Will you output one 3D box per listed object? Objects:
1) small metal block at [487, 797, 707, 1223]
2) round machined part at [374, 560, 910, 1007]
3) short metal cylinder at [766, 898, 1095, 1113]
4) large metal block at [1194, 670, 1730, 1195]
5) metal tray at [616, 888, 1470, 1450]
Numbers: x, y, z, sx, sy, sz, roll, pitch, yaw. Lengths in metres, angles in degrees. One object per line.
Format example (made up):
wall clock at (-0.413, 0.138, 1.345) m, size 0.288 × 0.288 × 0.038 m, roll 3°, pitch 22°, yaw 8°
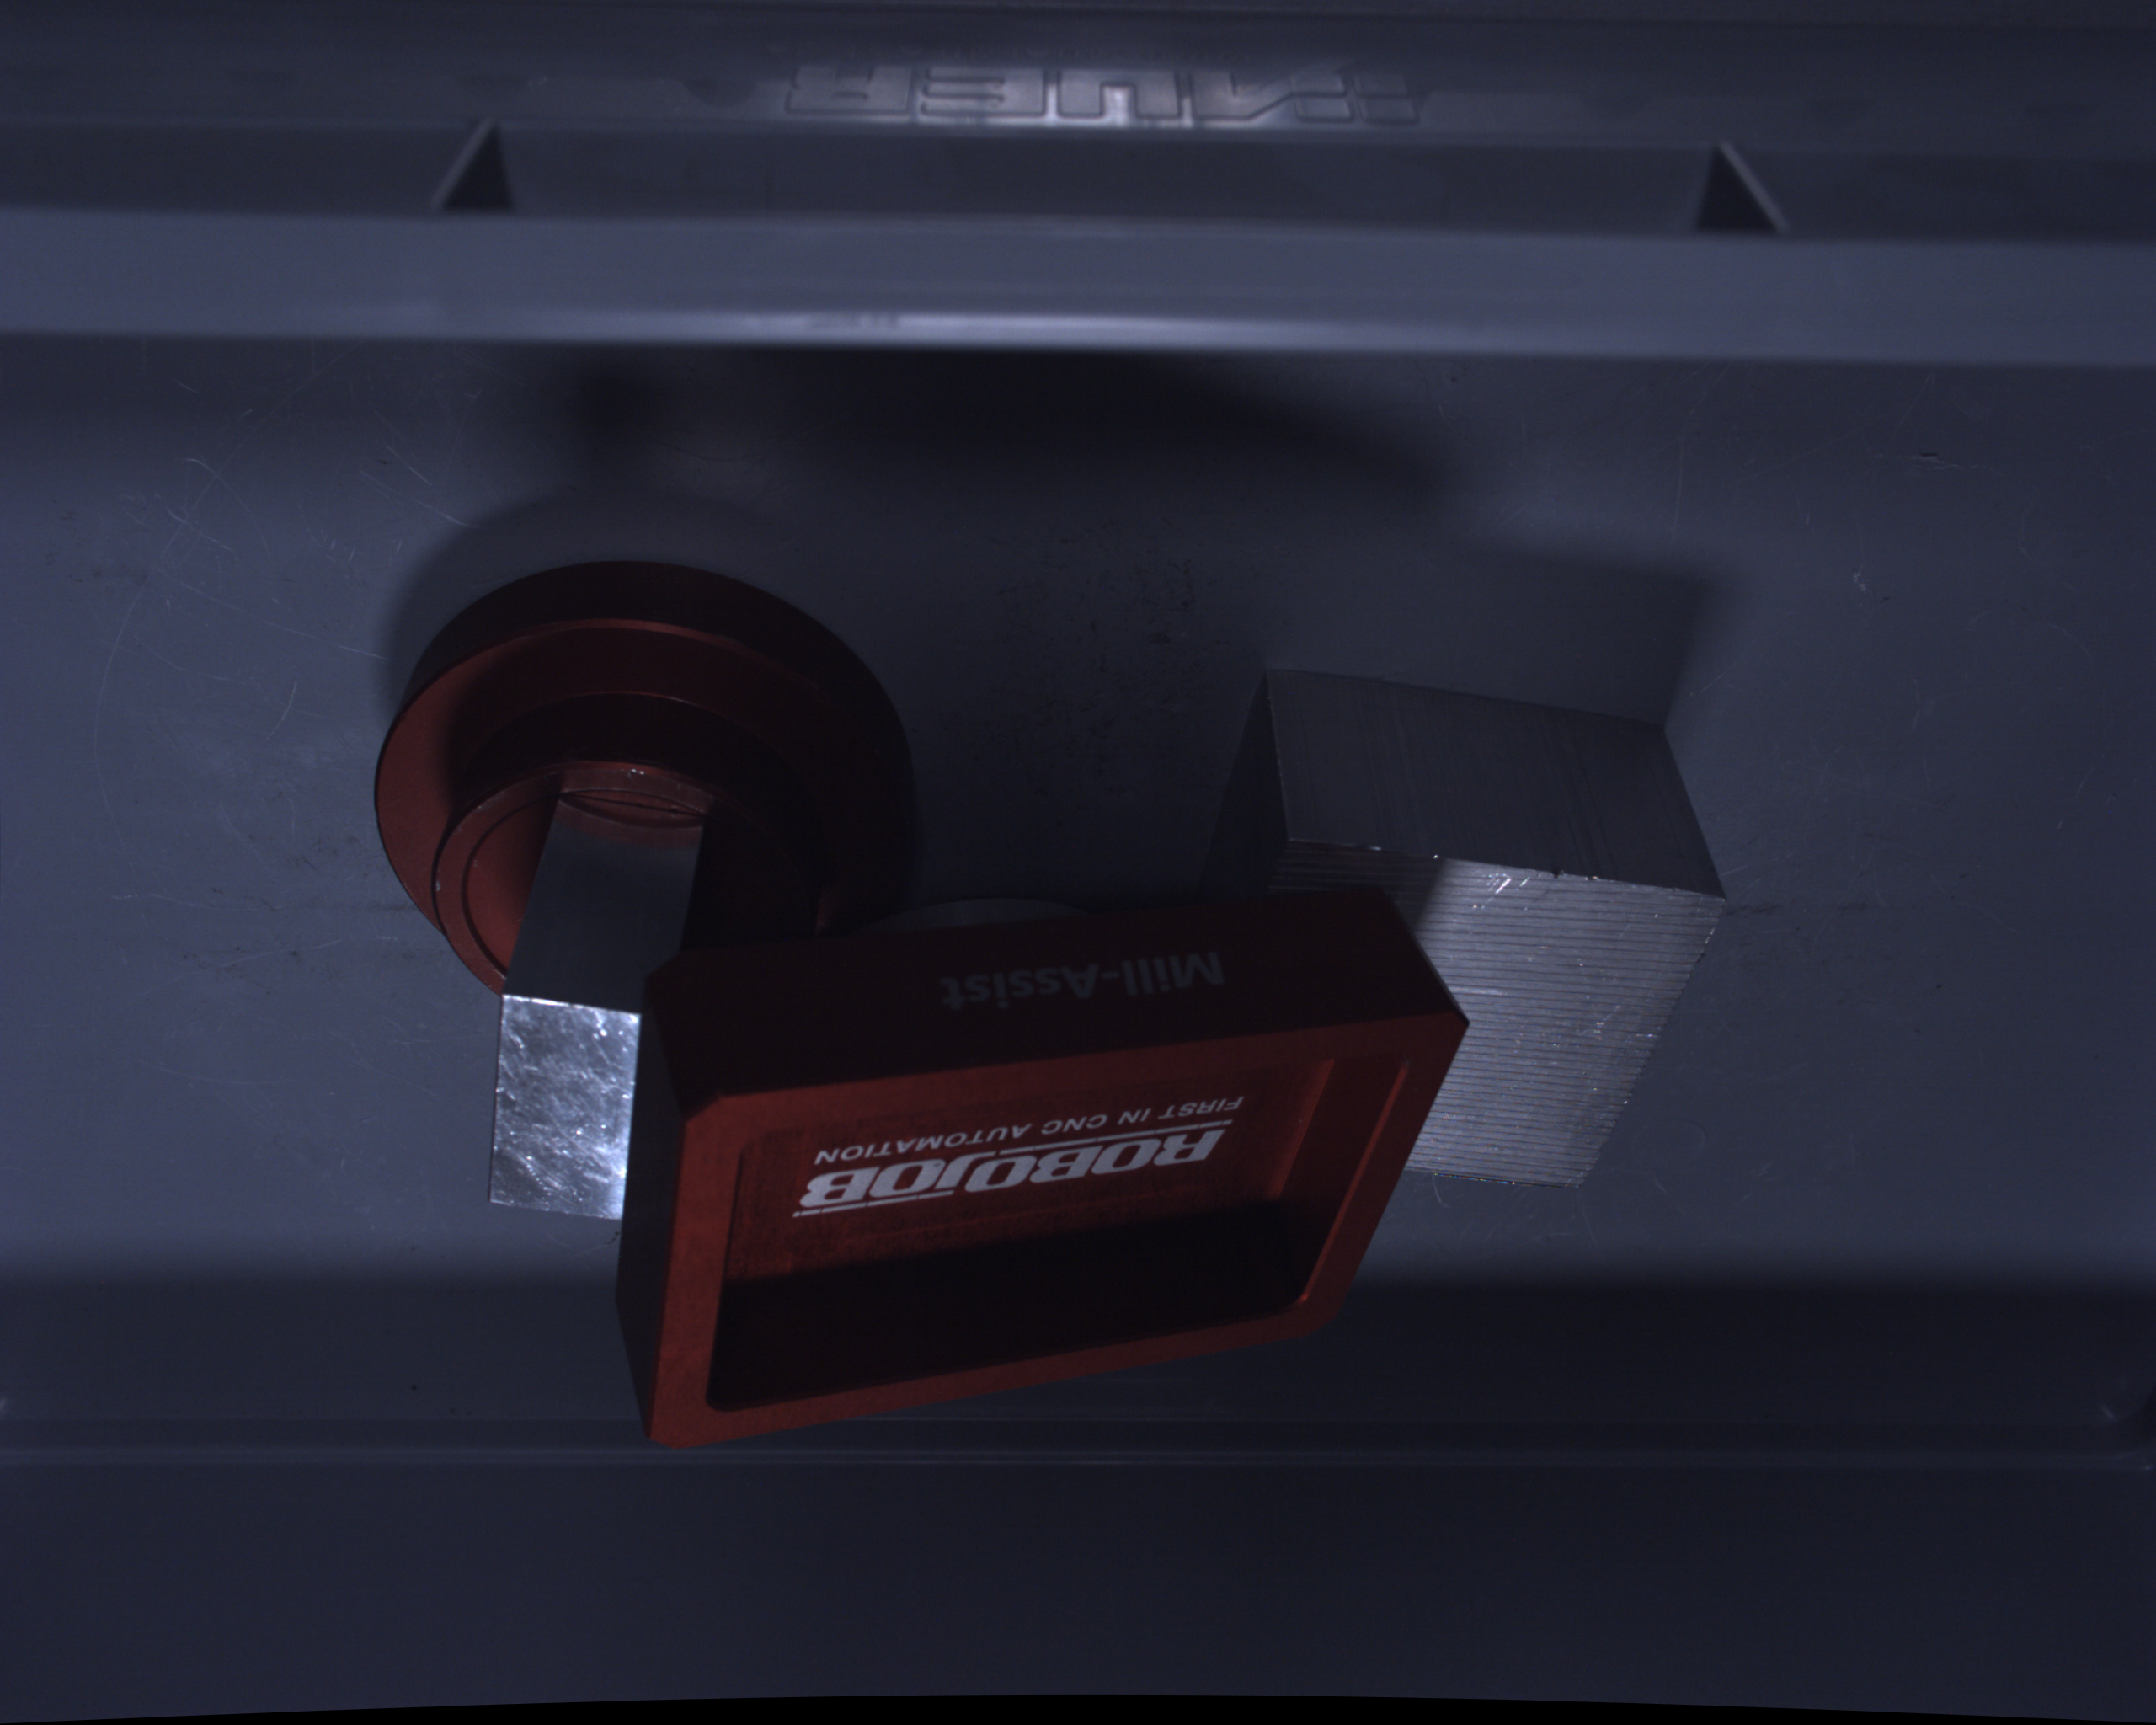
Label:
small metal block at (-0.082, 0.025, 0.356) m, size 0.025 × 0.050 × 0.050 m, roll 10°, pitch 130°, yaw -8°
round machined part at (-0.082, -0.004, 0.391) m, size 0.099 × 0.042 × 0.097 m, roll -1°, pitch 130°, yaw 0°
short metal cylinder at (-0.021, 0.051, 0.418) m, size 0.081 × 0.050 × 0.080 m, roll -10°, pitch 144°, yaw -7°
large metal block at (0.067, 0.015, 0.403) m, size 0.081 × 0.050 × 0.079 m, roll 7°, pitch 130°, yaw -7°
metal tray at (-0.008, 0.052, 0.355) m, size 0.131 × 0.030 × 0.089 m, roll -5°, pitch 133°, yaw -22°
